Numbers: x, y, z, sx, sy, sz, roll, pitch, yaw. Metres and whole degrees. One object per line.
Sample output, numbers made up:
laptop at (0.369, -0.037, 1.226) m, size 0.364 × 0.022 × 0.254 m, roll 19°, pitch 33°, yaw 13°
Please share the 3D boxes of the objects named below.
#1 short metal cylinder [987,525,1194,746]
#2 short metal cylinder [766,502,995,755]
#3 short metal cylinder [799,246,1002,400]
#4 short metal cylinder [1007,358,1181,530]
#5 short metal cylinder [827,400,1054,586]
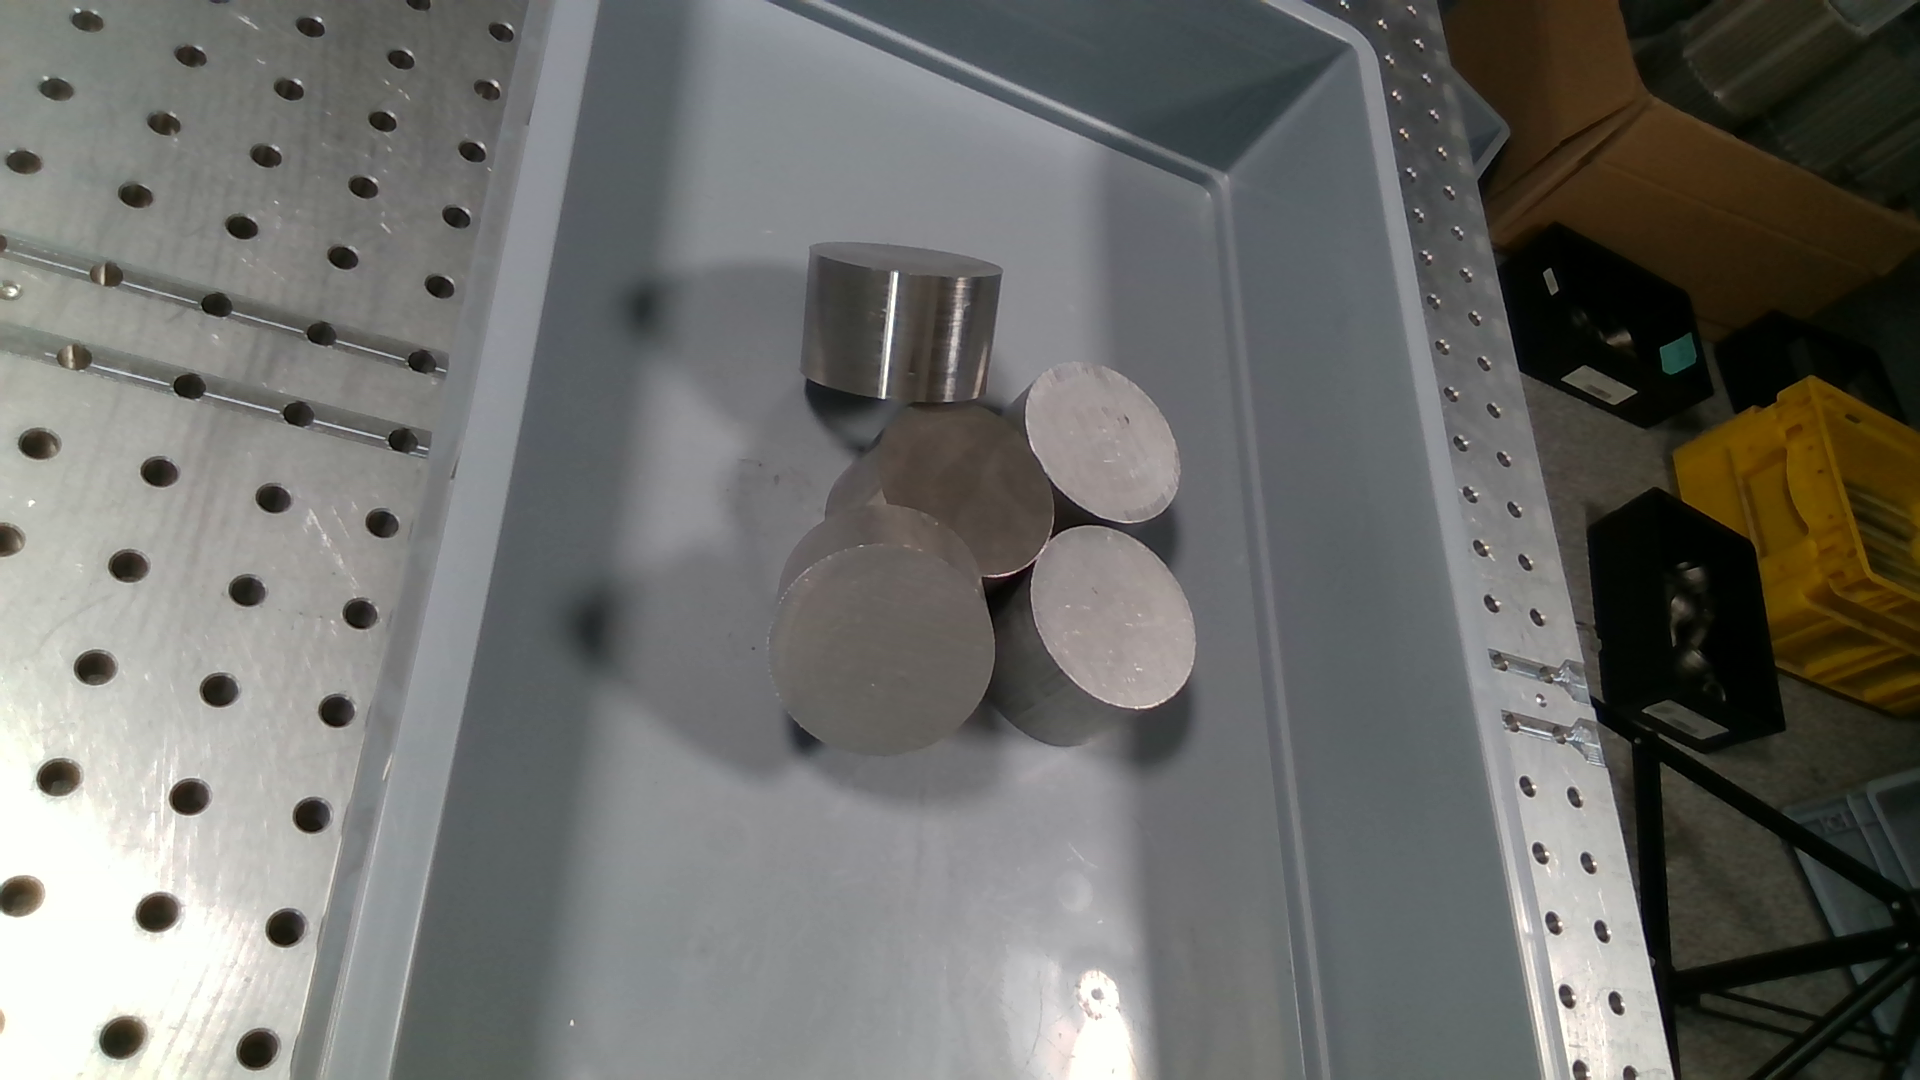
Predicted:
short metal cylinder at (0.051, 0.040, 0.579) m, size 0.080 × 0.050 × 0.080 m, roll 14°, pitch 59°, yaw -25°
short metal cylinder at (-0.029, 0.032, 0.506) m, size 0.080 × 0.080 × 0.050 m, roll 32°, pitch 13°, yaw -13°
short metal cylinder at (-0.025, -0.093, 0.576) m, size 0.080 × 0.080 × 0.050 m, roll -6°, pitch 113°, yaw -34°
short metal cylinder at (0.052, -0.034, 0.617) m, size 0.080 × 0.050 × 0.080 m, roll 14°, pitch 59°, yaw -25°
short metal cylinder at (-0.008, -0.012, 0.568) m, size 0.080 × 0.050 × 0.080 m, roll 14°, pitch 59°, yaw -25°
